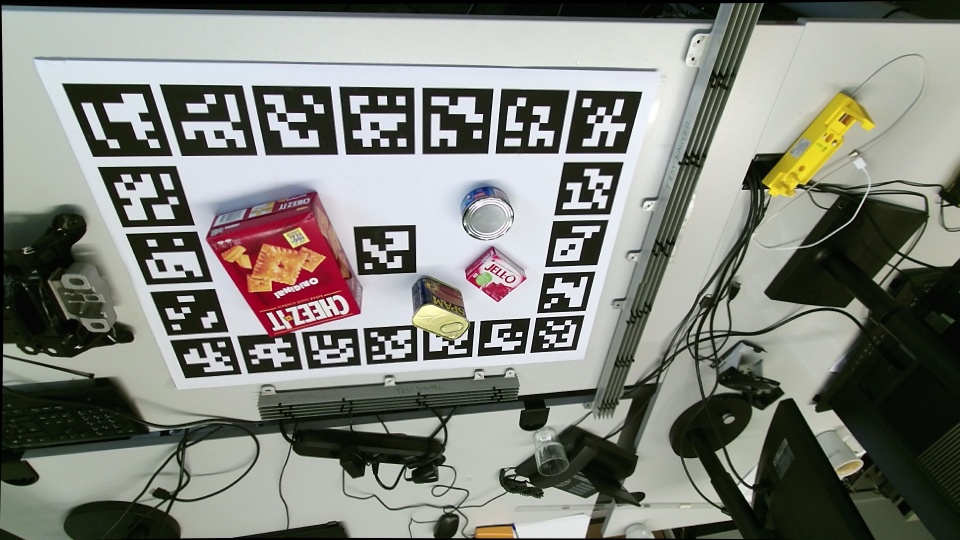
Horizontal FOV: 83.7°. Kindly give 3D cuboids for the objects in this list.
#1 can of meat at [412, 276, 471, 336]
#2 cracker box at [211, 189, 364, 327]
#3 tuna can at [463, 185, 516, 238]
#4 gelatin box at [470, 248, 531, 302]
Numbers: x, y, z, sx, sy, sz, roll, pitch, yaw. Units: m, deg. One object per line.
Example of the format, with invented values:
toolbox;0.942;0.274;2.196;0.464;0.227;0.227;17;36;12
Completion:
can of meat;-0.073;0.064;0.984;0.102;0.083;0.058;23;120;-27
cracker box;-0.307;-0.012;0.885;0.165;0.071;0.214;-15;130;2
tuna can;0.015;-0.098;0.893;0.086;0.033;0.086;-6;125;-8
gelatin box;0.038;0.011;0.989;0.073;0.030;0.089;-40;122;23
